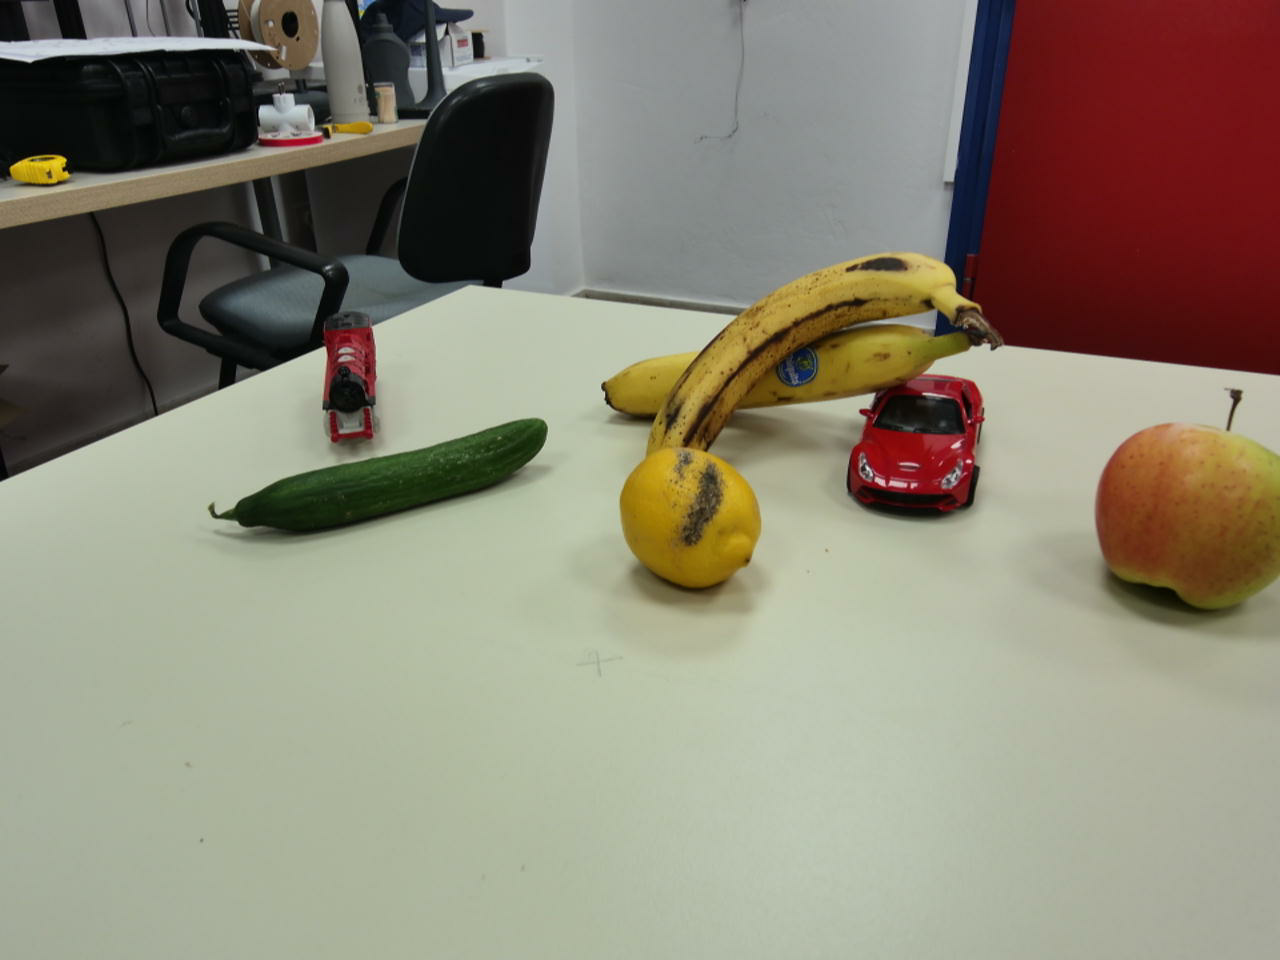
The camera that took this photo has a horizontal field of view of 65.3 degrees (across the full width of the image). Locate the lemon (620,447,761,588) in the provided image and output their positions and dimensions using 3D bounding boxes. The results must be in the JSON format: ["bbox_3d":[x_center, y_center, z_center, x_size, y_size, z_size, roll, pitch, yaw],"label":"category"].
[{"bbox_3d":[0.021,0.016,0.424,0.061,0.056,0.058,8,25,17],"label":"lemon"}]
